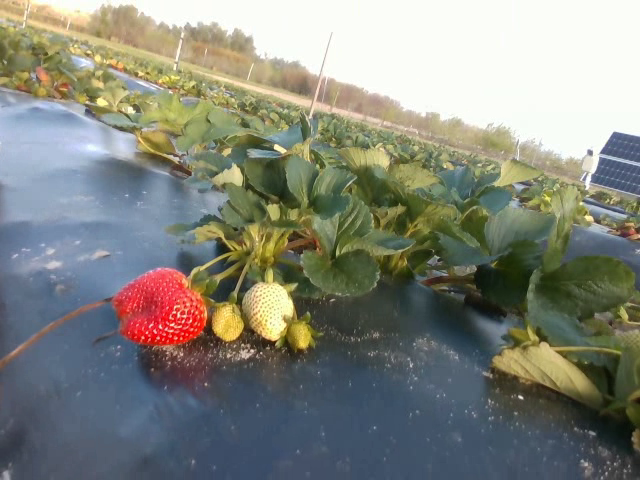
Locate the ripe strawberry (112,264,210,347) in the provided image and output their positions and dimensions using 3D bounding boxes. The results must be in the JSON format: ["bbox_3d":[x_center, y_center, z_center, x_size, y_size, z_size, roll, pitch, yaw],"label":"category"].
[{"bbox_3d":[-0.093,0.033,0.349,0.050,0.035,0.047,-24,33,-31],"label":"ripe strawberry"}]
